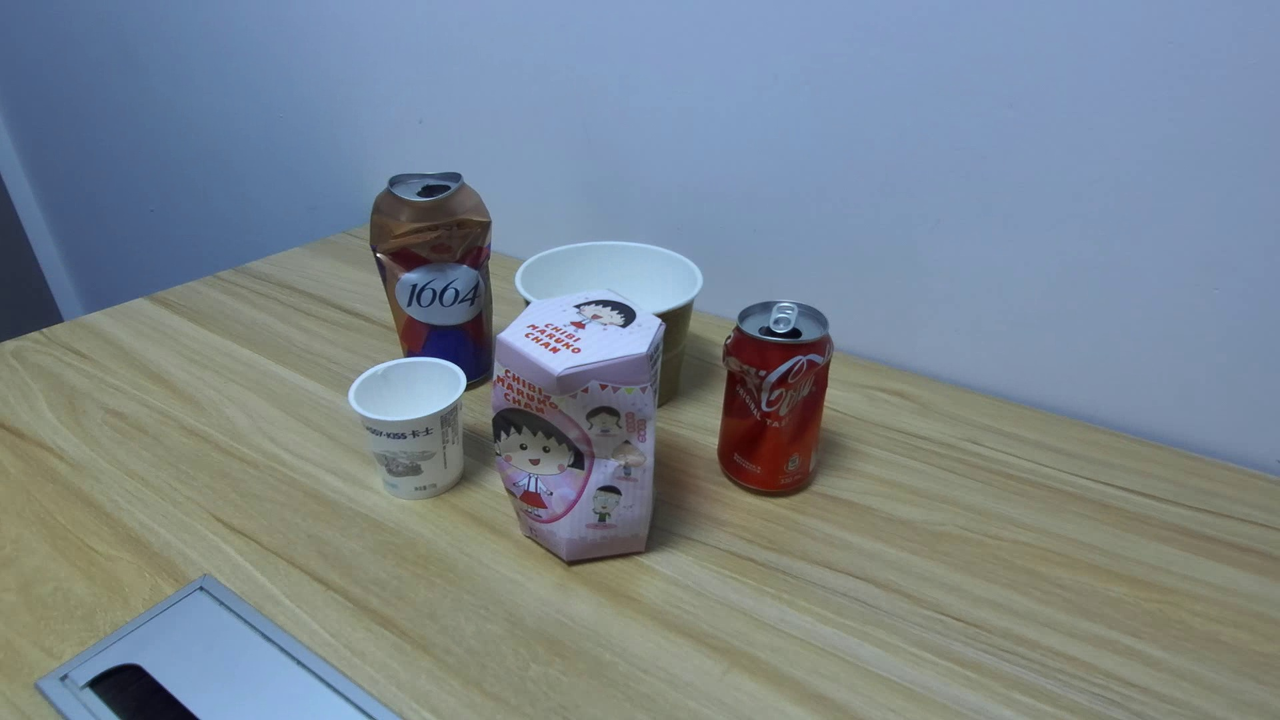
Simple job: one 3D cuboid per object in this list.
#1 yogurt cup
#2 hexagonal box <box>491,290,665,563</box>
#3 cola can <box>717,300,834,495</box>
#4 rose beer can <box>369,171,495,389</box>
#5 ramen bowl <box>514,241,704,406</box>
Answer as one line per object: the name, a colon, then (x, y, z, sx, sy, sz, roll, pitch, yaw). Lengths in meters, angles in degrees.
yogurt cup: (-0.143, 0.046, 0.451, 0.072, 0.068, 0.072, 1, 30, 0)
hexagonal box: (-0.033, 0.037, 0.403, 0.089, 0.135, 0.093, 4, 31, 5)
cola can: (0.085, 0.023, 0.447, 0.066, 0.117, 0.066, -16, 34, -27)
rose beer can: (-0.151, -0.056, 0.534, 0.074, 0.162, 0.067, -24, 35, -36)
ramen bowl: (-0.024, -0.023, 0.563, 0.140, 0.095, 0.140, 2, 27, -1)
